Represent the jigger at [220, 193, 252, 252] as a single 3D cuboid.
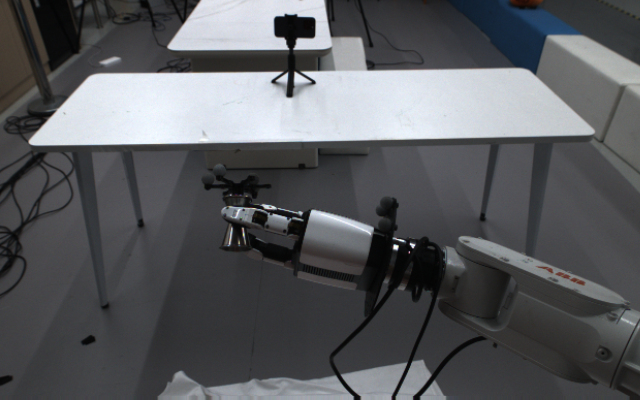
[{"bbox_3d":[-0.108,0.030,0.632,0.043,0.043,0.071,0,75,-3],"label":"jigger"}]
